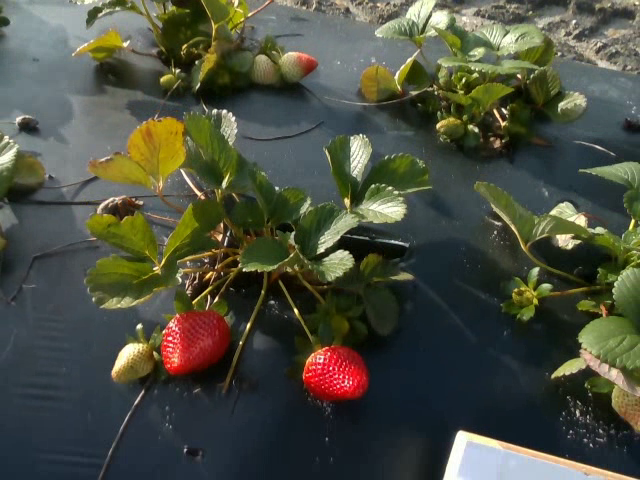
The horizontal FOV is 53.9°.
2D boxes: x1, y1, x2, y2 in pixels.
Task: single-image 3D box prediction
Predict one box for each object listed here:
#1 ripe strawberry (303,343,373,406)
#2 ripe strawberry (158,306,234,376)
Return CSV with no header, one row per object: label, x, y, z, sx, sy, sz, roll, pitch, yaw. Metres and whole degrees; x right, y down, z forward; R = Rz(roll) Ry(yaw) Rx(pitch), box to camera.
ripe strawberry,0.010,0.061,0.283,0.033,0.038,0.039,25,7,-15
ripe strawberry,-0.058,0.046,0.284,0.035,0.041,0.036,0,20,7
